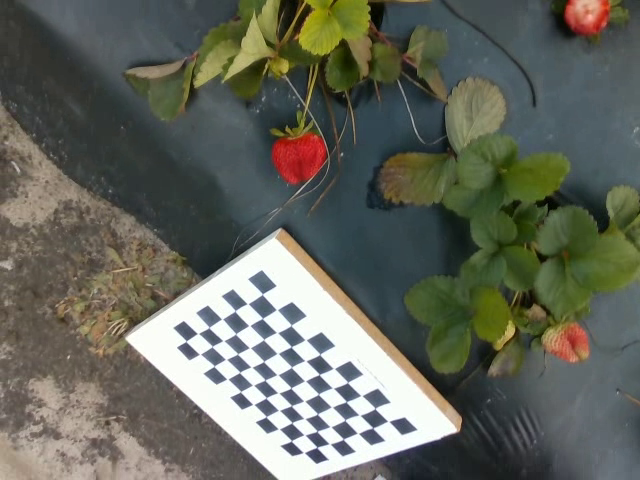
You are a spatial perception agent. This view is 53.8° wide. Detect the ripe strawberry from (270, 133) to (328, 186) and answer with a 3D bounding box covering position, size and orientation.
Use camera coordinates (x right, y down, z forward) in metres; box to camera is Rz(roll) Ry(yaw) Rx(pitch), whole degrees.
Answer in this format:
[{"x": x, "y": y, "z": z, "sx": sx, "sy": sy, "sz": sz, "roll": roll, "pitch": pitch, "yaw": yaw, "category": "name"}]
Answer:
[{"x": -0.006, "y": -0.019, "z": 0.156, "sx": 0.017, "sy": 0.015, "sz": 0.013, "roll": -8, "pitch": -14, "yaw": 27, "category": "ripe strawberry"}]
